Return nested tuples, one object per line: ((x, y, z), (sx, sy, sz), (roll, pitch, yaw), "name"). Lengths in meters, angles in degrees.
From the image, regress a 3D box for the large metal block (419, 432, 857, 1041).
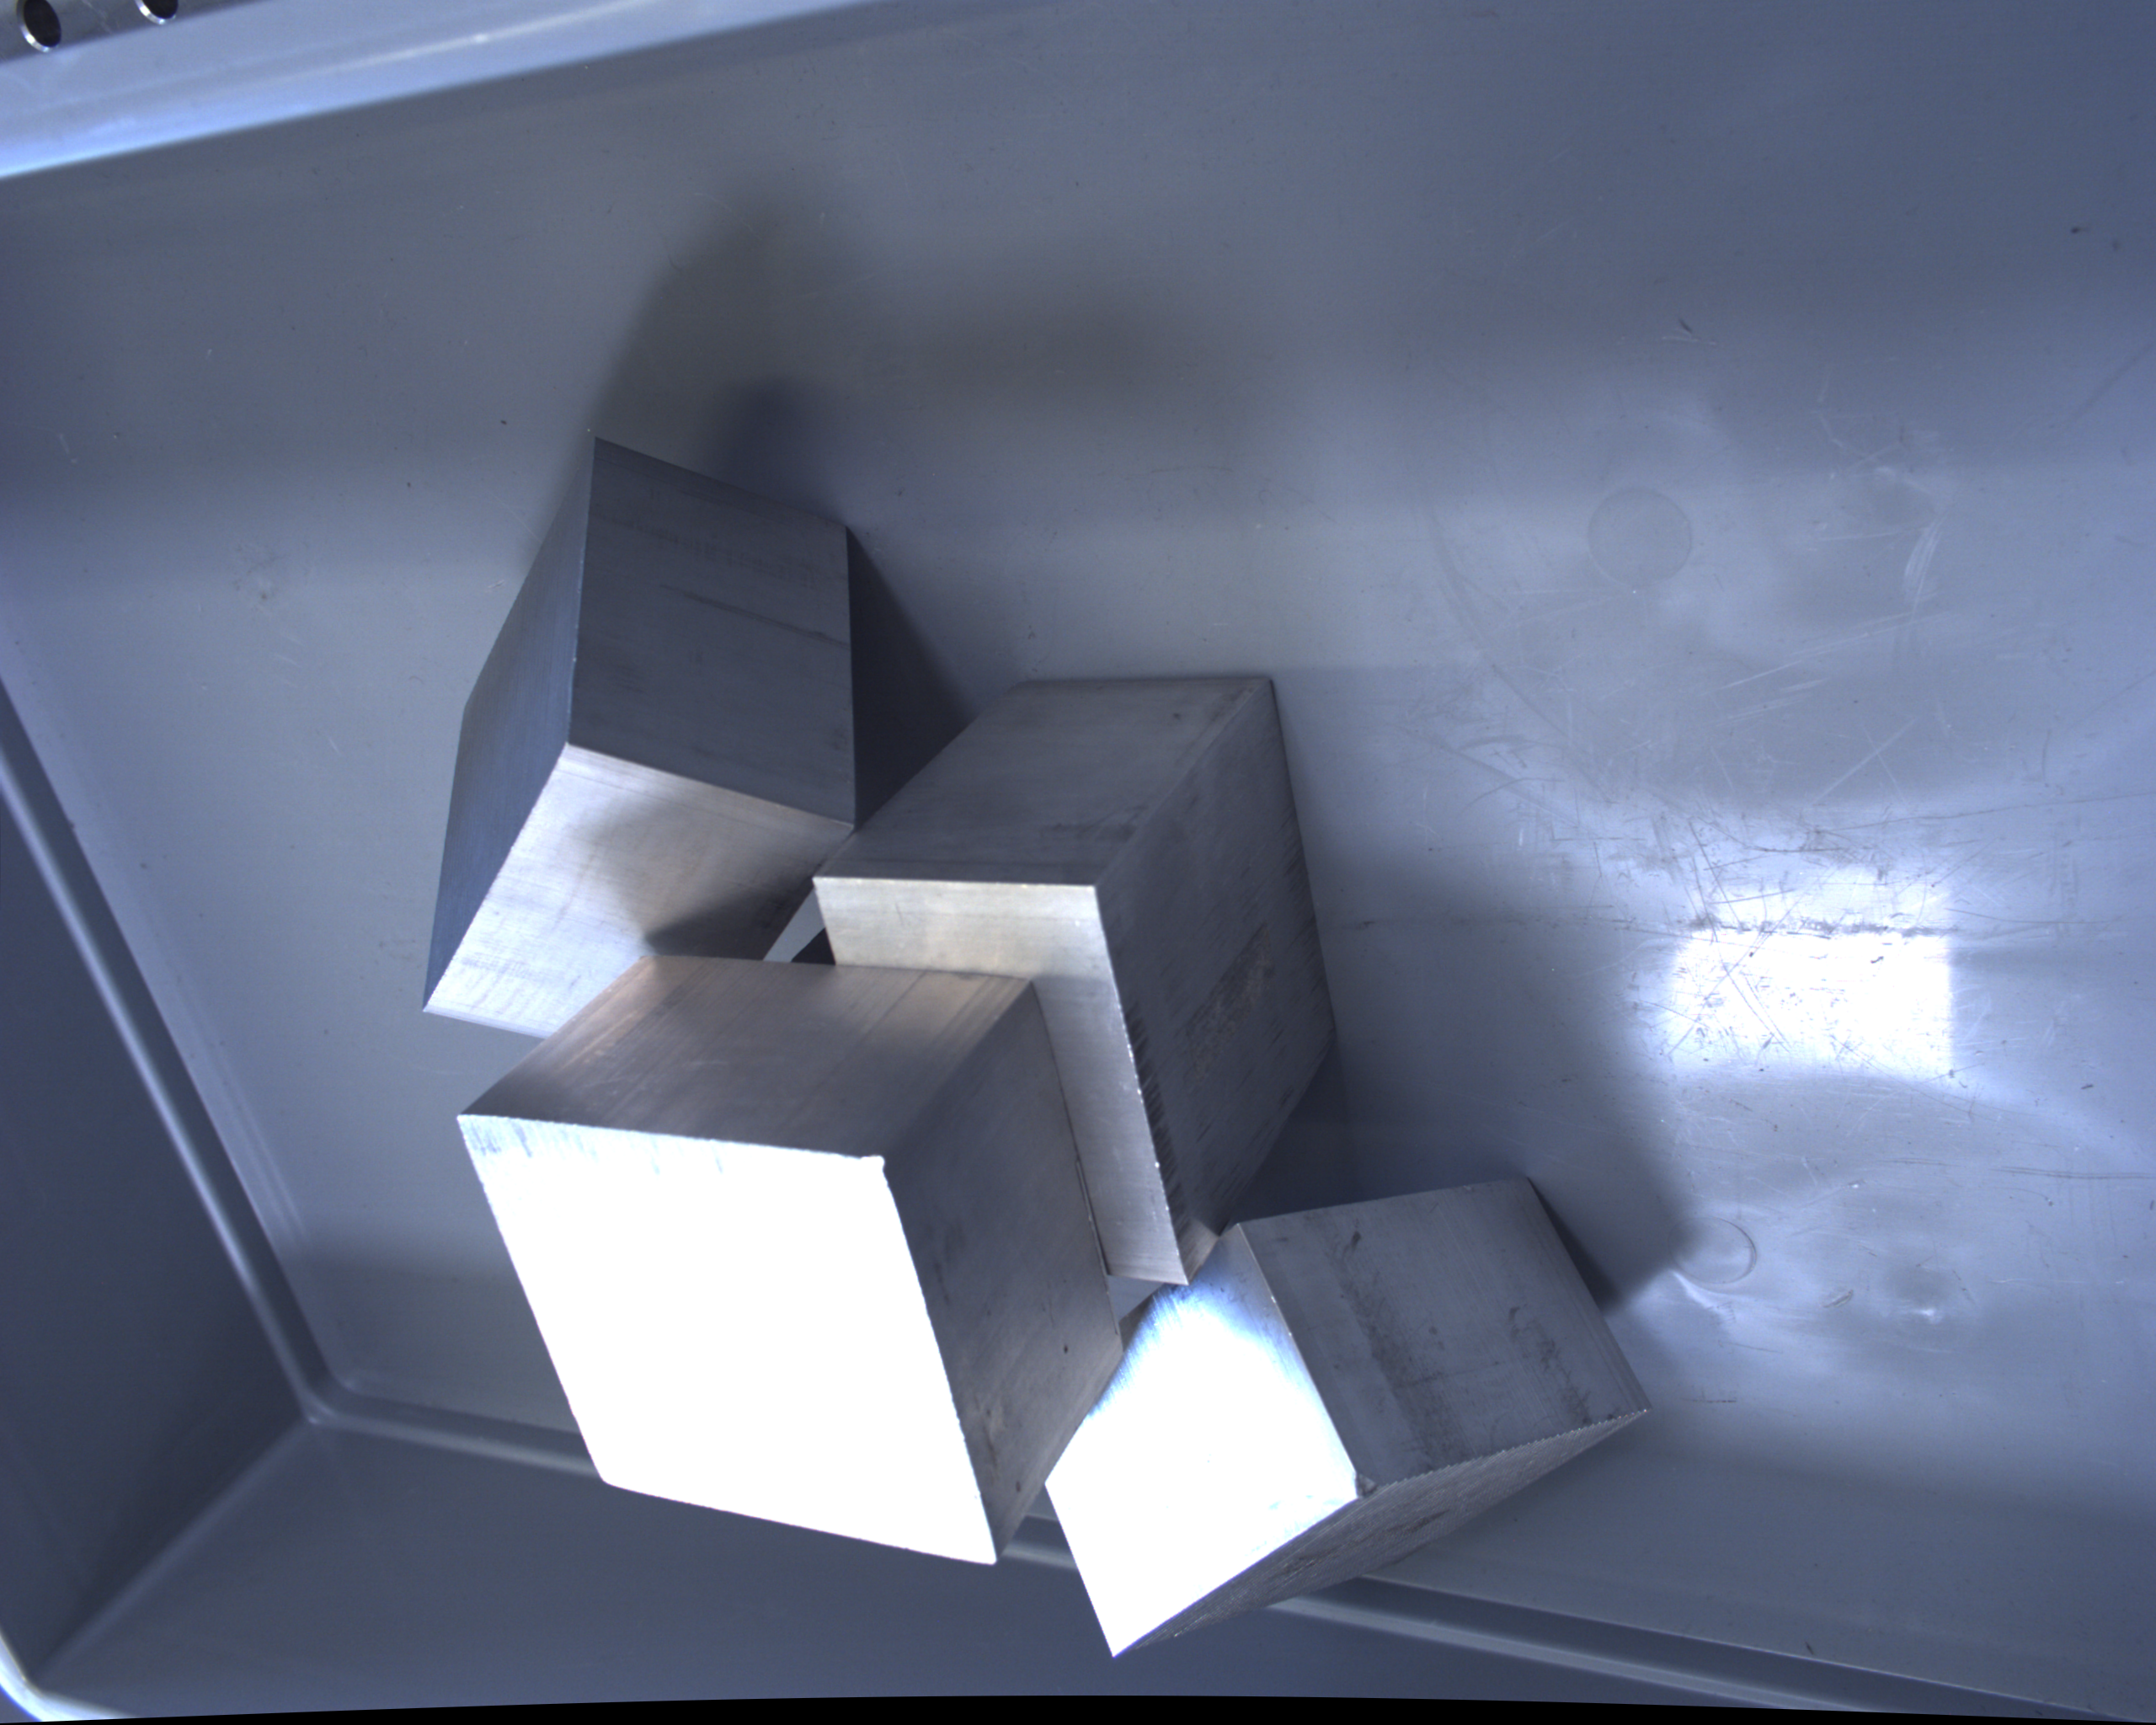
((-0.083, -0.019, 0.394), (0.050, 0.080, 0.080), (17, 134, -26), "large metal block")

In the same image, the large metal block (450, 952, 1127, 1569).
((-0.046, 0.064, 0.350), (0.080, 0.050, 0.080), (2, 119, 27), "large metal block")

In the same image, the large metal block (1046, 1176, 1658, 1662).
((0.048, 0.106, 0.402), (0.080, 0.081, 0.050), (-48, 55, 39), "large metal block")

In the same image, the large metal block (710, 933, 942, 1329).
((-0.032, 0.061, 0.426), (0.050, 0.080, 0.080), (1, 119, 27), "large metal block")

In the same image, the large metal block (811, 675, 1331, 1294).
((0.003, 0.019, 0.380), (0.050, 0.080, 0.080), (1, 119, 27), "large metal block")
